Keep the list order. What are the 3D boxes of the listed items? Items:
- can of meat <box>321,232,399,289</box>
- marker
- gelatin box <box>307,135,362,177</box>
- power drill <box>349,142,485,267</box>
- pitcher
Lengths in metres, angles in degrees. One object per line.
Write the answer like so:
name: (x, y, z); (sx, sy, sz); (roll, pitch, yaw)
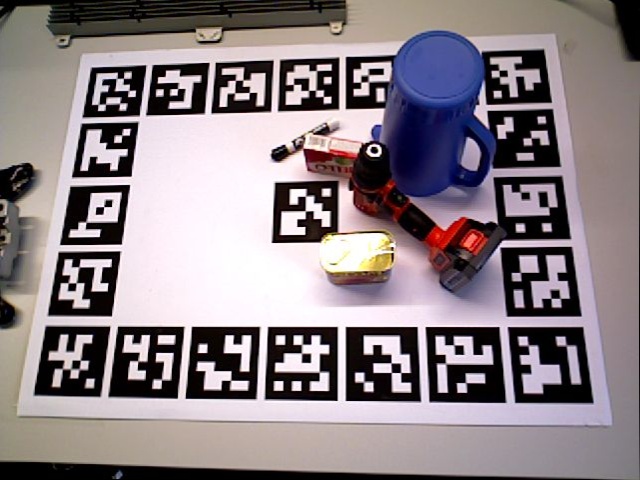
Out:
can of meat: (0.054, 0.031, 0.748); (0.101, 0.084, 0.057); (-2, 70, 3)
marker: (-0.025, -0.165, 0.848); (0.120, 0.020, 0.019); (-27, 73, -2)
gelatin box: (0.027, -0.121, 0.805); (0.089, 0.074, 0.030); (10, 76, 6)
power drill: (0.119, -0.046, 0.717); (0.187, 0.186, 0.057); (35, 79, 8)
pitcher: (0.166, -0.153, 0.720); (0.189, 0.244, 0.132); (30, 79, 19)
